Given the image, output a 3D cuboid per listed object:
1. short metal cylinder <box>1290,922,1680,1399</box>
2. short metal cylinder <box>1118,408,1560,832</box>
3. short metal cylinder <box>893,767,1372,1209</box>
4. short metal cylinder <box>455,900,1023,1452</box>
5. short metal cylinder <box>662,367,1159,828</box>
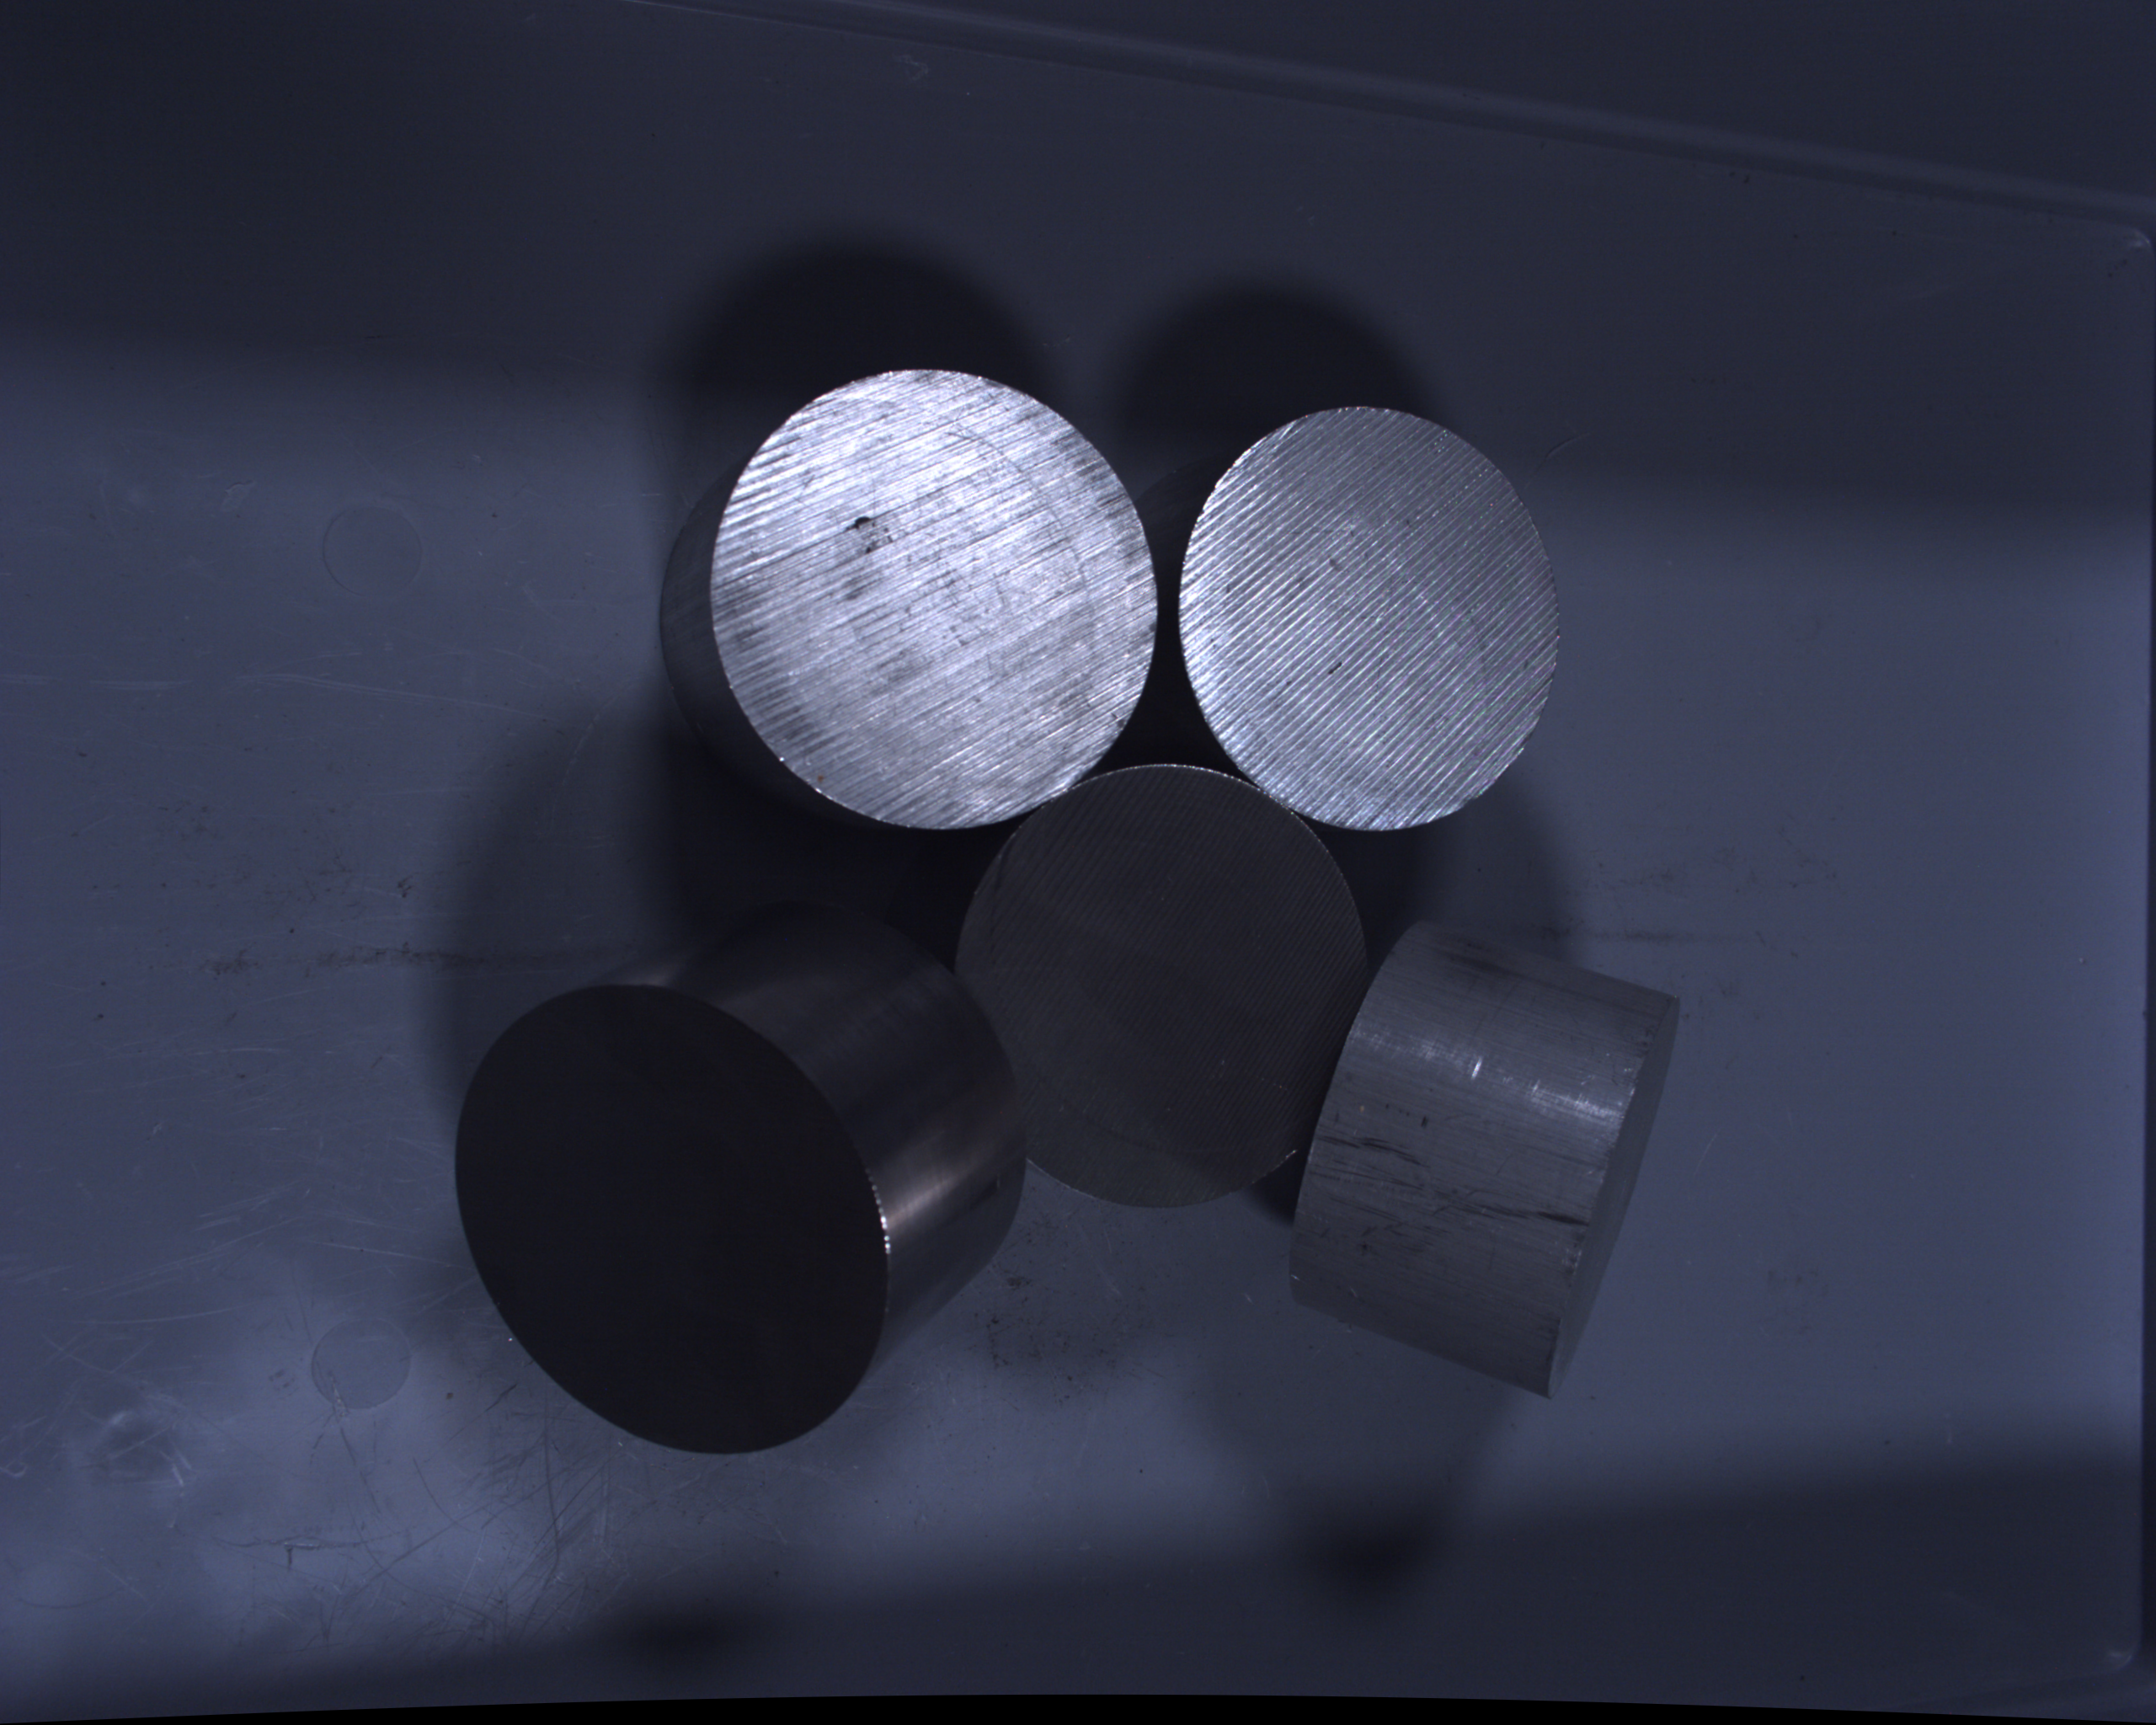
[{"bbox_3d":[0.080,0.057,0.404,0.050,0.080,0.080,17,83,20],"label":"short metal cylinder"},{"bbox_3d":[0.047,-0.046,0.414,0.081,0.050,0.079,0,90,-21],"label":"short metal cylinder"},{"bbox_3d":[0.008,0.022,0.398,0.081,0.050,0.079,0,90,-21],"label":"short metal cylinder"},{"bbox_3d":[-0.056,0.051,0.354,0.050,0.080,0.080,-32,105,-63],"label":"short metal cylinder"},{"bbox_3d":[-0.032,-0.046,0.383,0.081,0.050,0.079,0,90,-21],"label":"short metal cylinder"}]
